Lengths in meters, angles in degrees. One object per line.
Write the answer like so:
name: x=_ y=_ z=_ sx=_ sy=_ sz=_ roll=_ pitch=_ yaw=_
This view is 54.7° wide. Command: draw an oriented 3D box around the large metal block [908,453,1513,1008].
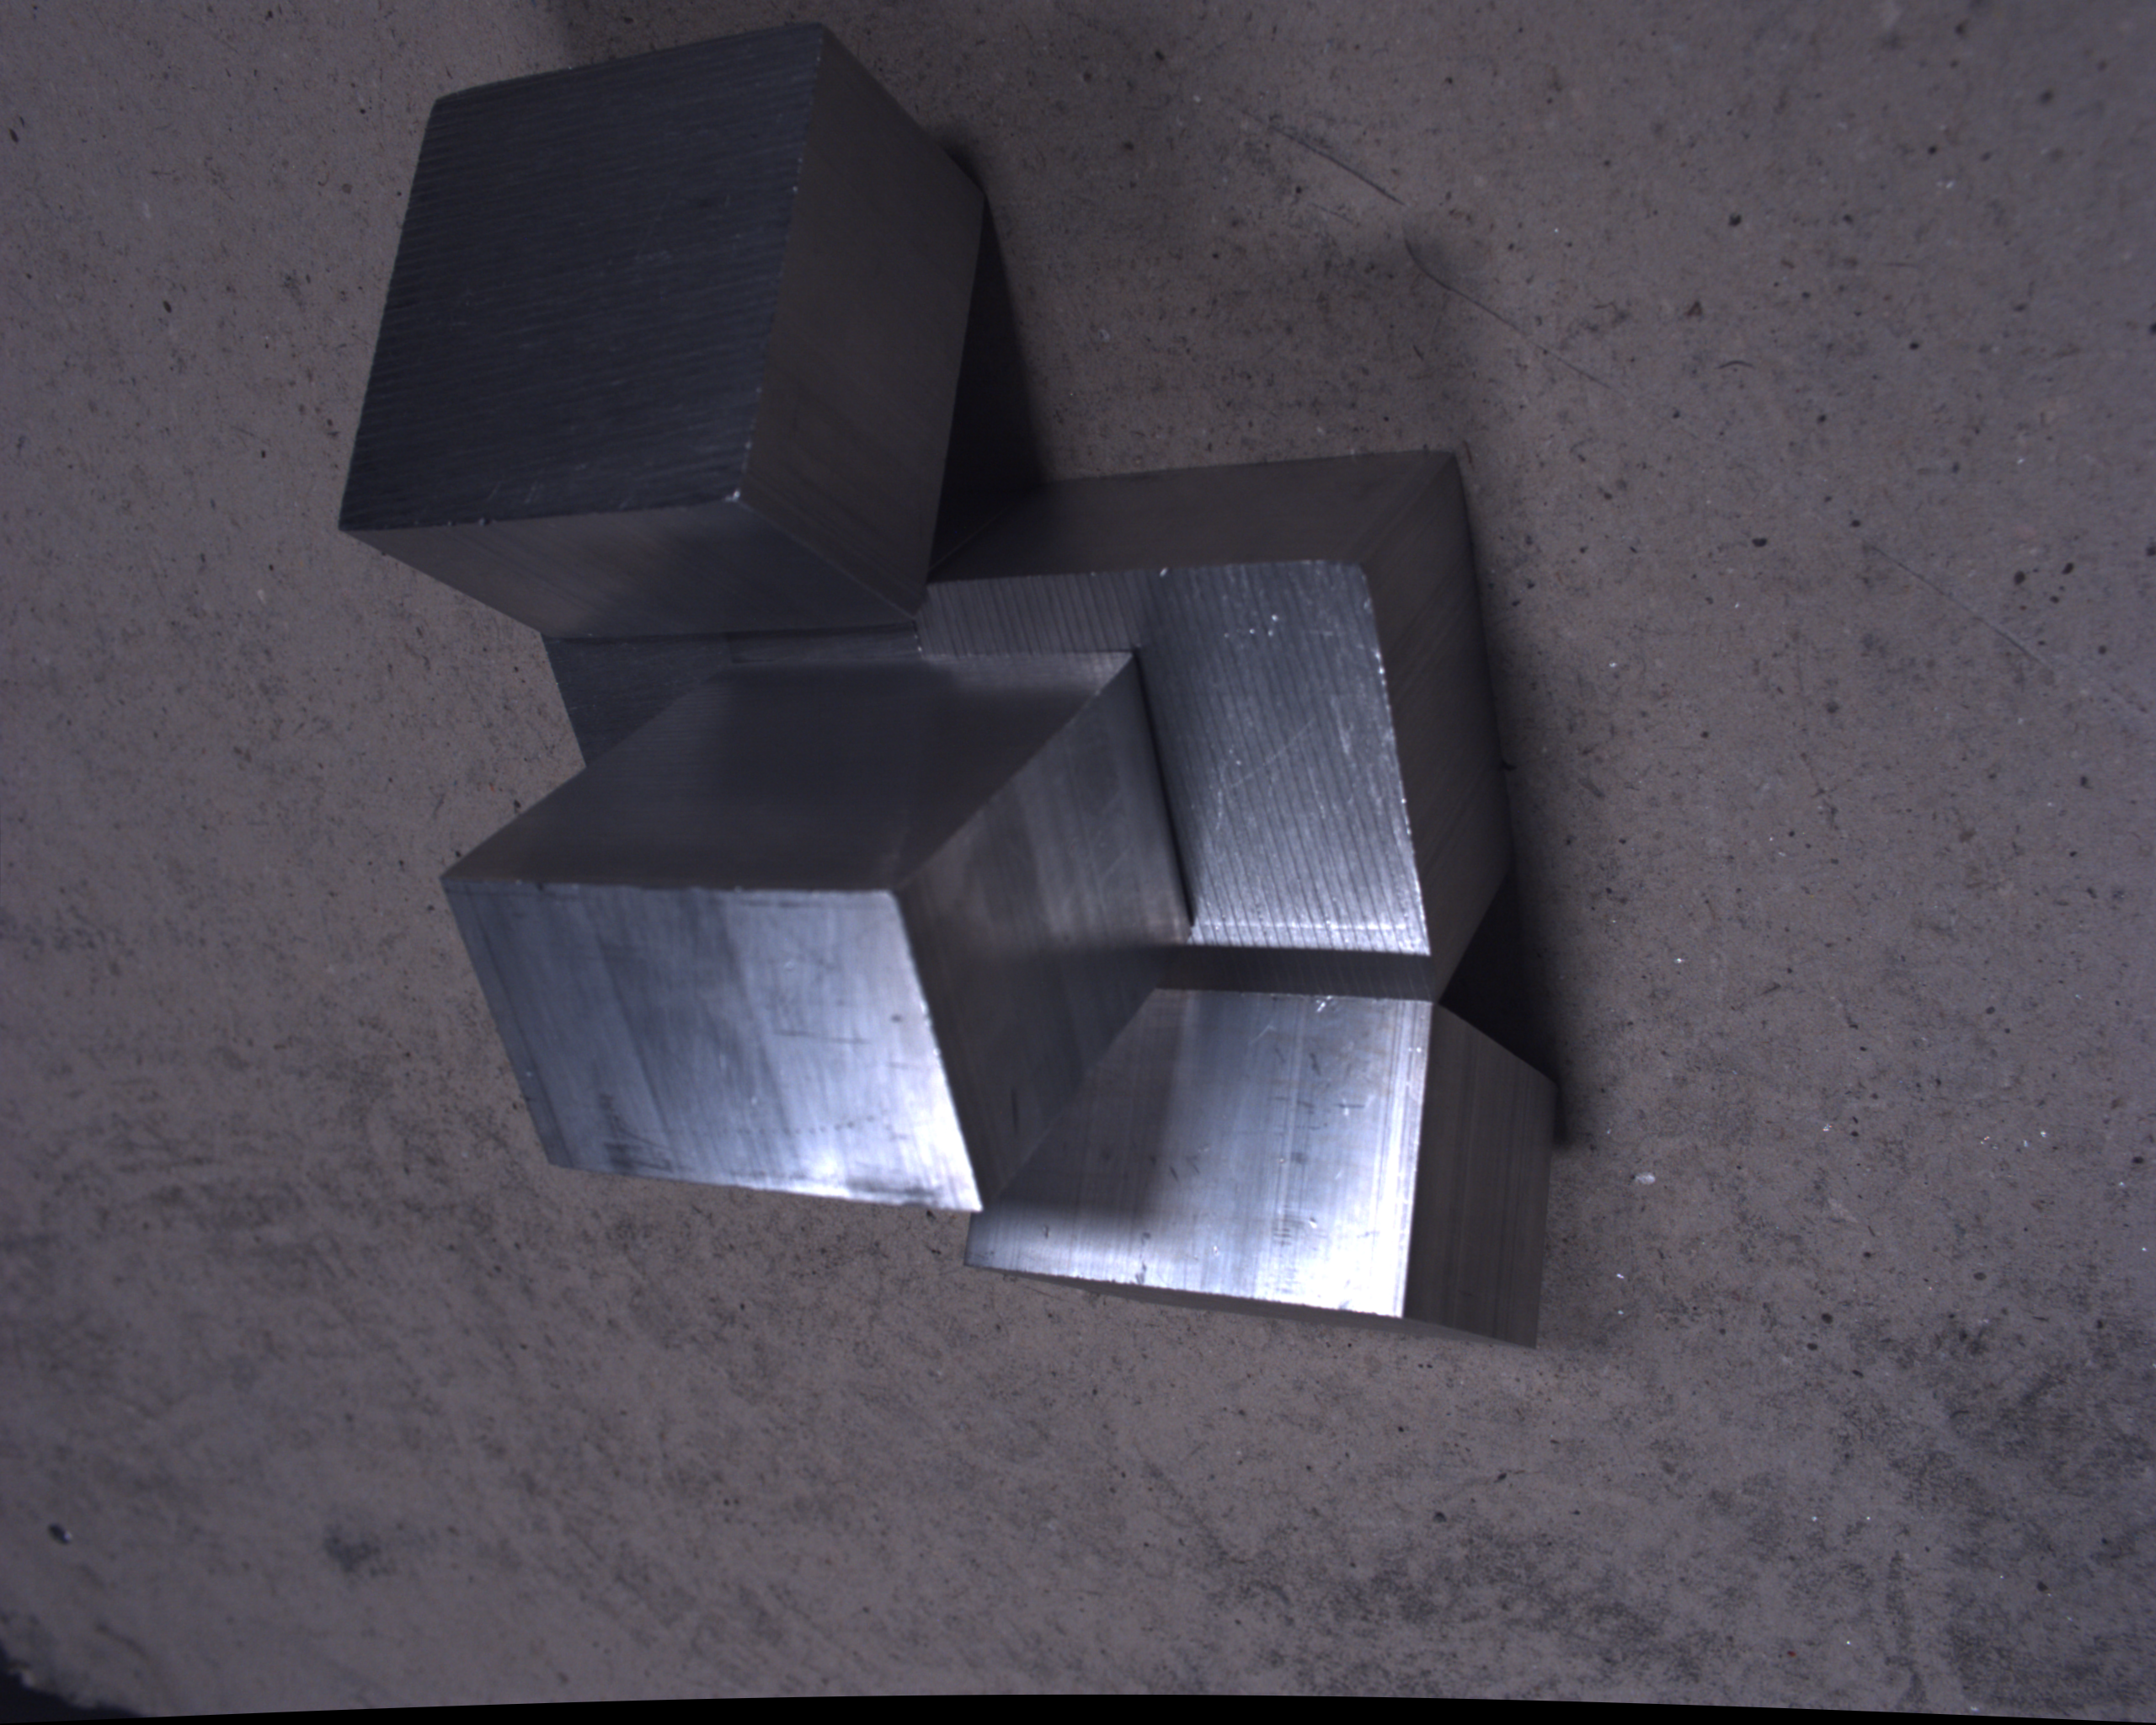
large metal block: x=0.025 y=-0.022 z=0.362 sx=0.080 sy=0.050 sz=0.079 roll=1 pitch=119 yaw=27

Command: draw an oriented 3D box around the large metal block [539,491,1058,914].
large metal block: x=-0.047 y=-0.022 z=0.399 sx=0.080 sy=0.050 sz=0.079 roll=1 pitch=119 yaw=27

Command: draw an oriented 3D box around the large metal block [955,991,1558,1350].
large metal block: x=0.036 y=0.056 z=0.380 sx=0.080 sy=0.080 sz=0.050 roll=1 pitch=75 yaw=27

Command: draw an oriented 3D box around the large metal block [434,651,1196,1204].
large metal block: x=-0.037 y=0.006 z=0.331 sx=0.080 sy=0.080 sz=0.050 roll=1 pitch=119 yaw=27

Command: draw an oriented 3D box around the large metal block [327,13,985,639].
large metal block: x=-0.068 y=-0.085 z=0.347 sx=0.080 sy=0.050 sz=0.080 roll=1 pitch=75 yaw=28
